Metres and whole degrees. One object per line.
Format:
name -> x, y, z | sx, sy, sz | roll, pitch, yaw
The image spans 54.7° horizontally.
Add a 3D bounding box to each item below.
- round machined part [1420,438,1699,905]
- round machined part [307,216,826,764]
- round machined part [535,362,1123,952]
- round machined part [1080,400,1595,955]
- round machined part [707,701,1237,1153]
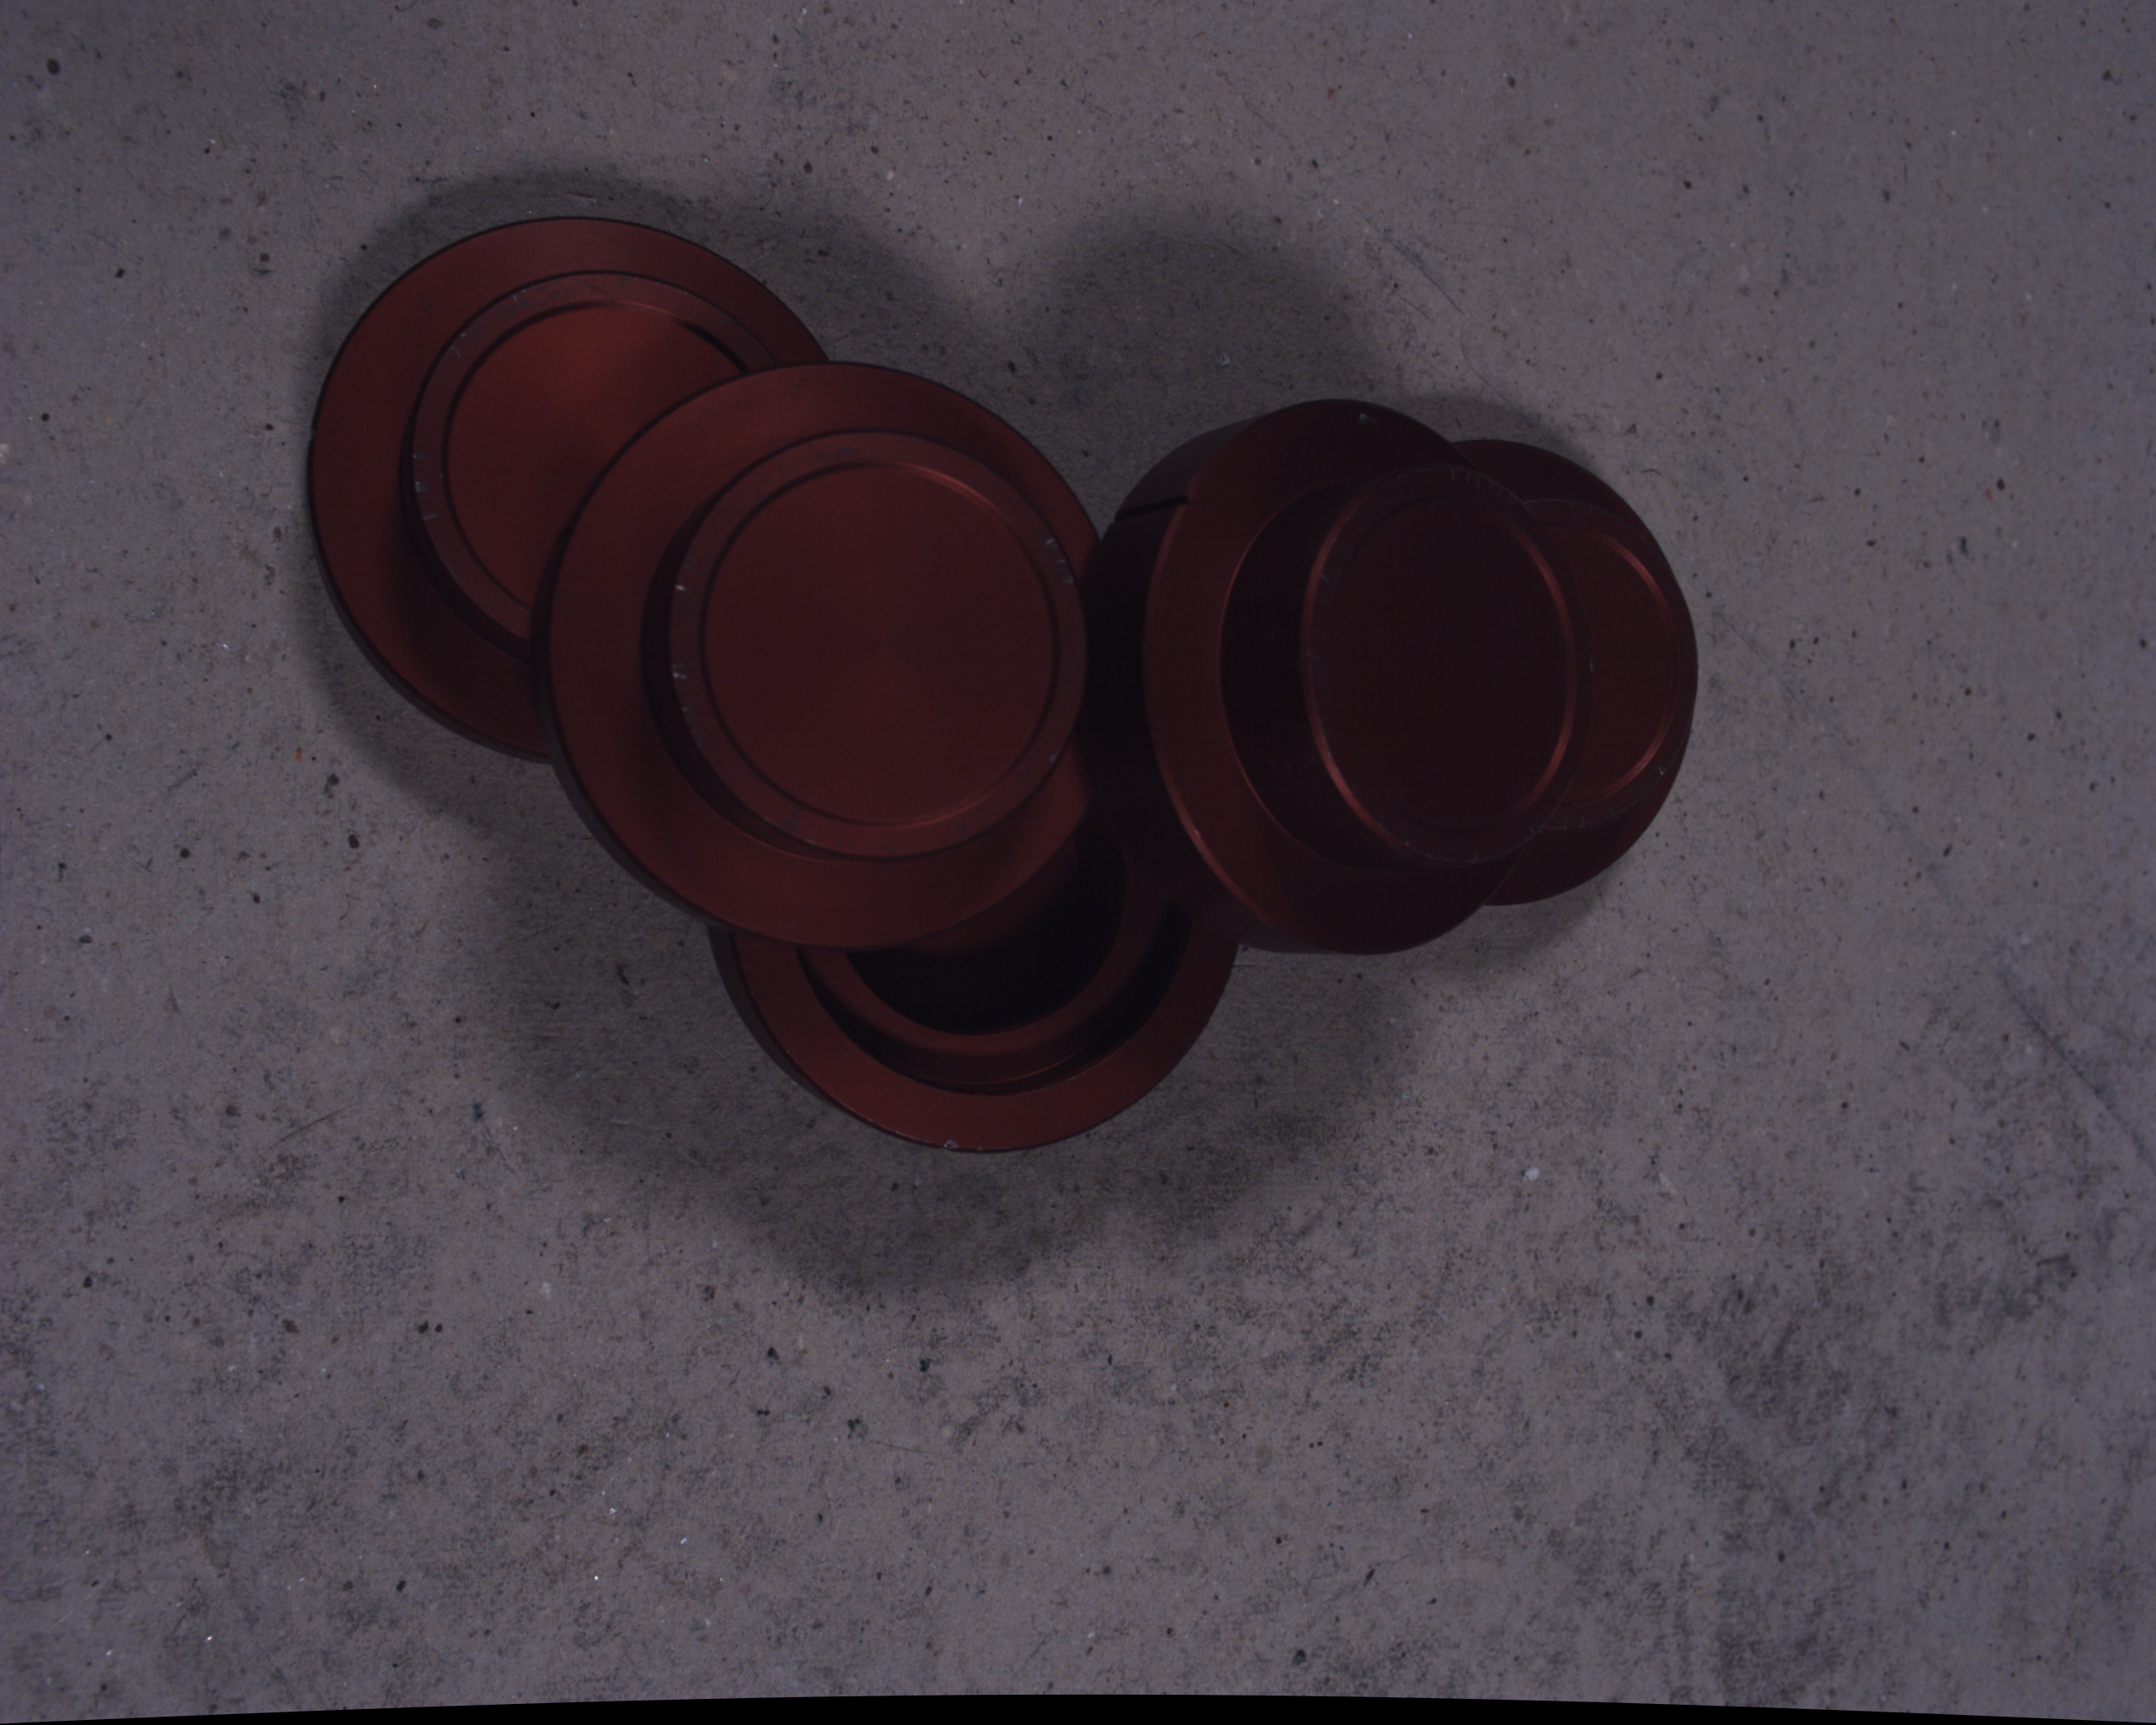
round machined part -> 0.088, -0.040, 0.435 | 0.099, 0.042, 0.097 | 0, 90, -21
round machined part -> -0.084, -0.066, 0.370 | 0.099, 0.042, 0.097 | 0, 90, -21
round machined part -> -0.037, -0.034, 0.343 | 0.099, 0.042, 0.097 | 0, 90, -21
round machined part -> 0.052, -0.032, 0.366 | 0.099, 0.042, 0.097 | 1, 88, -33
round machined part -> -0.022, 0.003, 0.394 | 0.099, 0.042, 0.097 | 0, 90, -21
